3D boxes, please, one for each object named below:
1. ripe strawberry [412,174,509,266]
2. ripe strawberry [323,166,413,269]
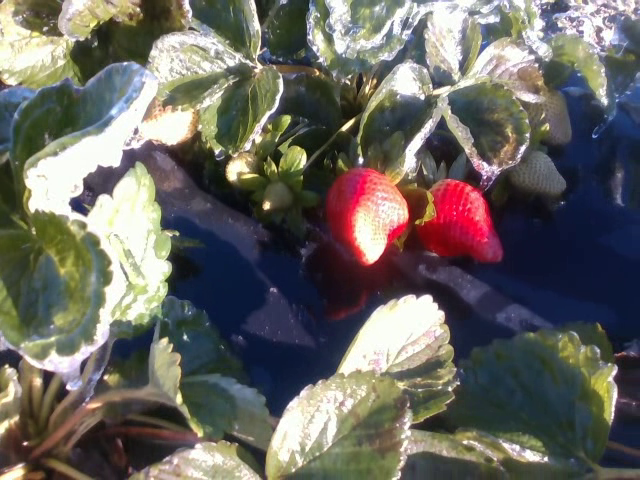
[{"bbox_3d":[0.084,-0.014,0.346,0.043,0.059,0.040,-24,-22,-27],"label":"ripe strawberry"},{"bbox_3d":[0.030,-0.011,0.338,0.052,0.070,0.040,25,-39,-13],"label":"ripe strawberry"}]
